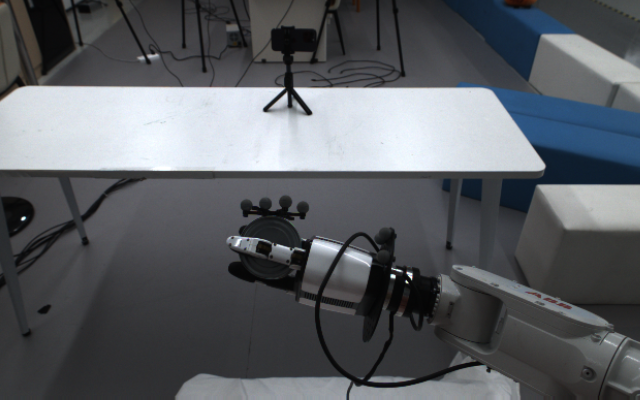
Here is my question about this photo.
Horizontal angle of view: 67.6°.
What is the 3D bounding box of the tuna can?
[{"bbox_3d":[-0.066,0.066,0.664,0.085,0.034,0.085,-1,77,4],"label":"tuna can"}]
